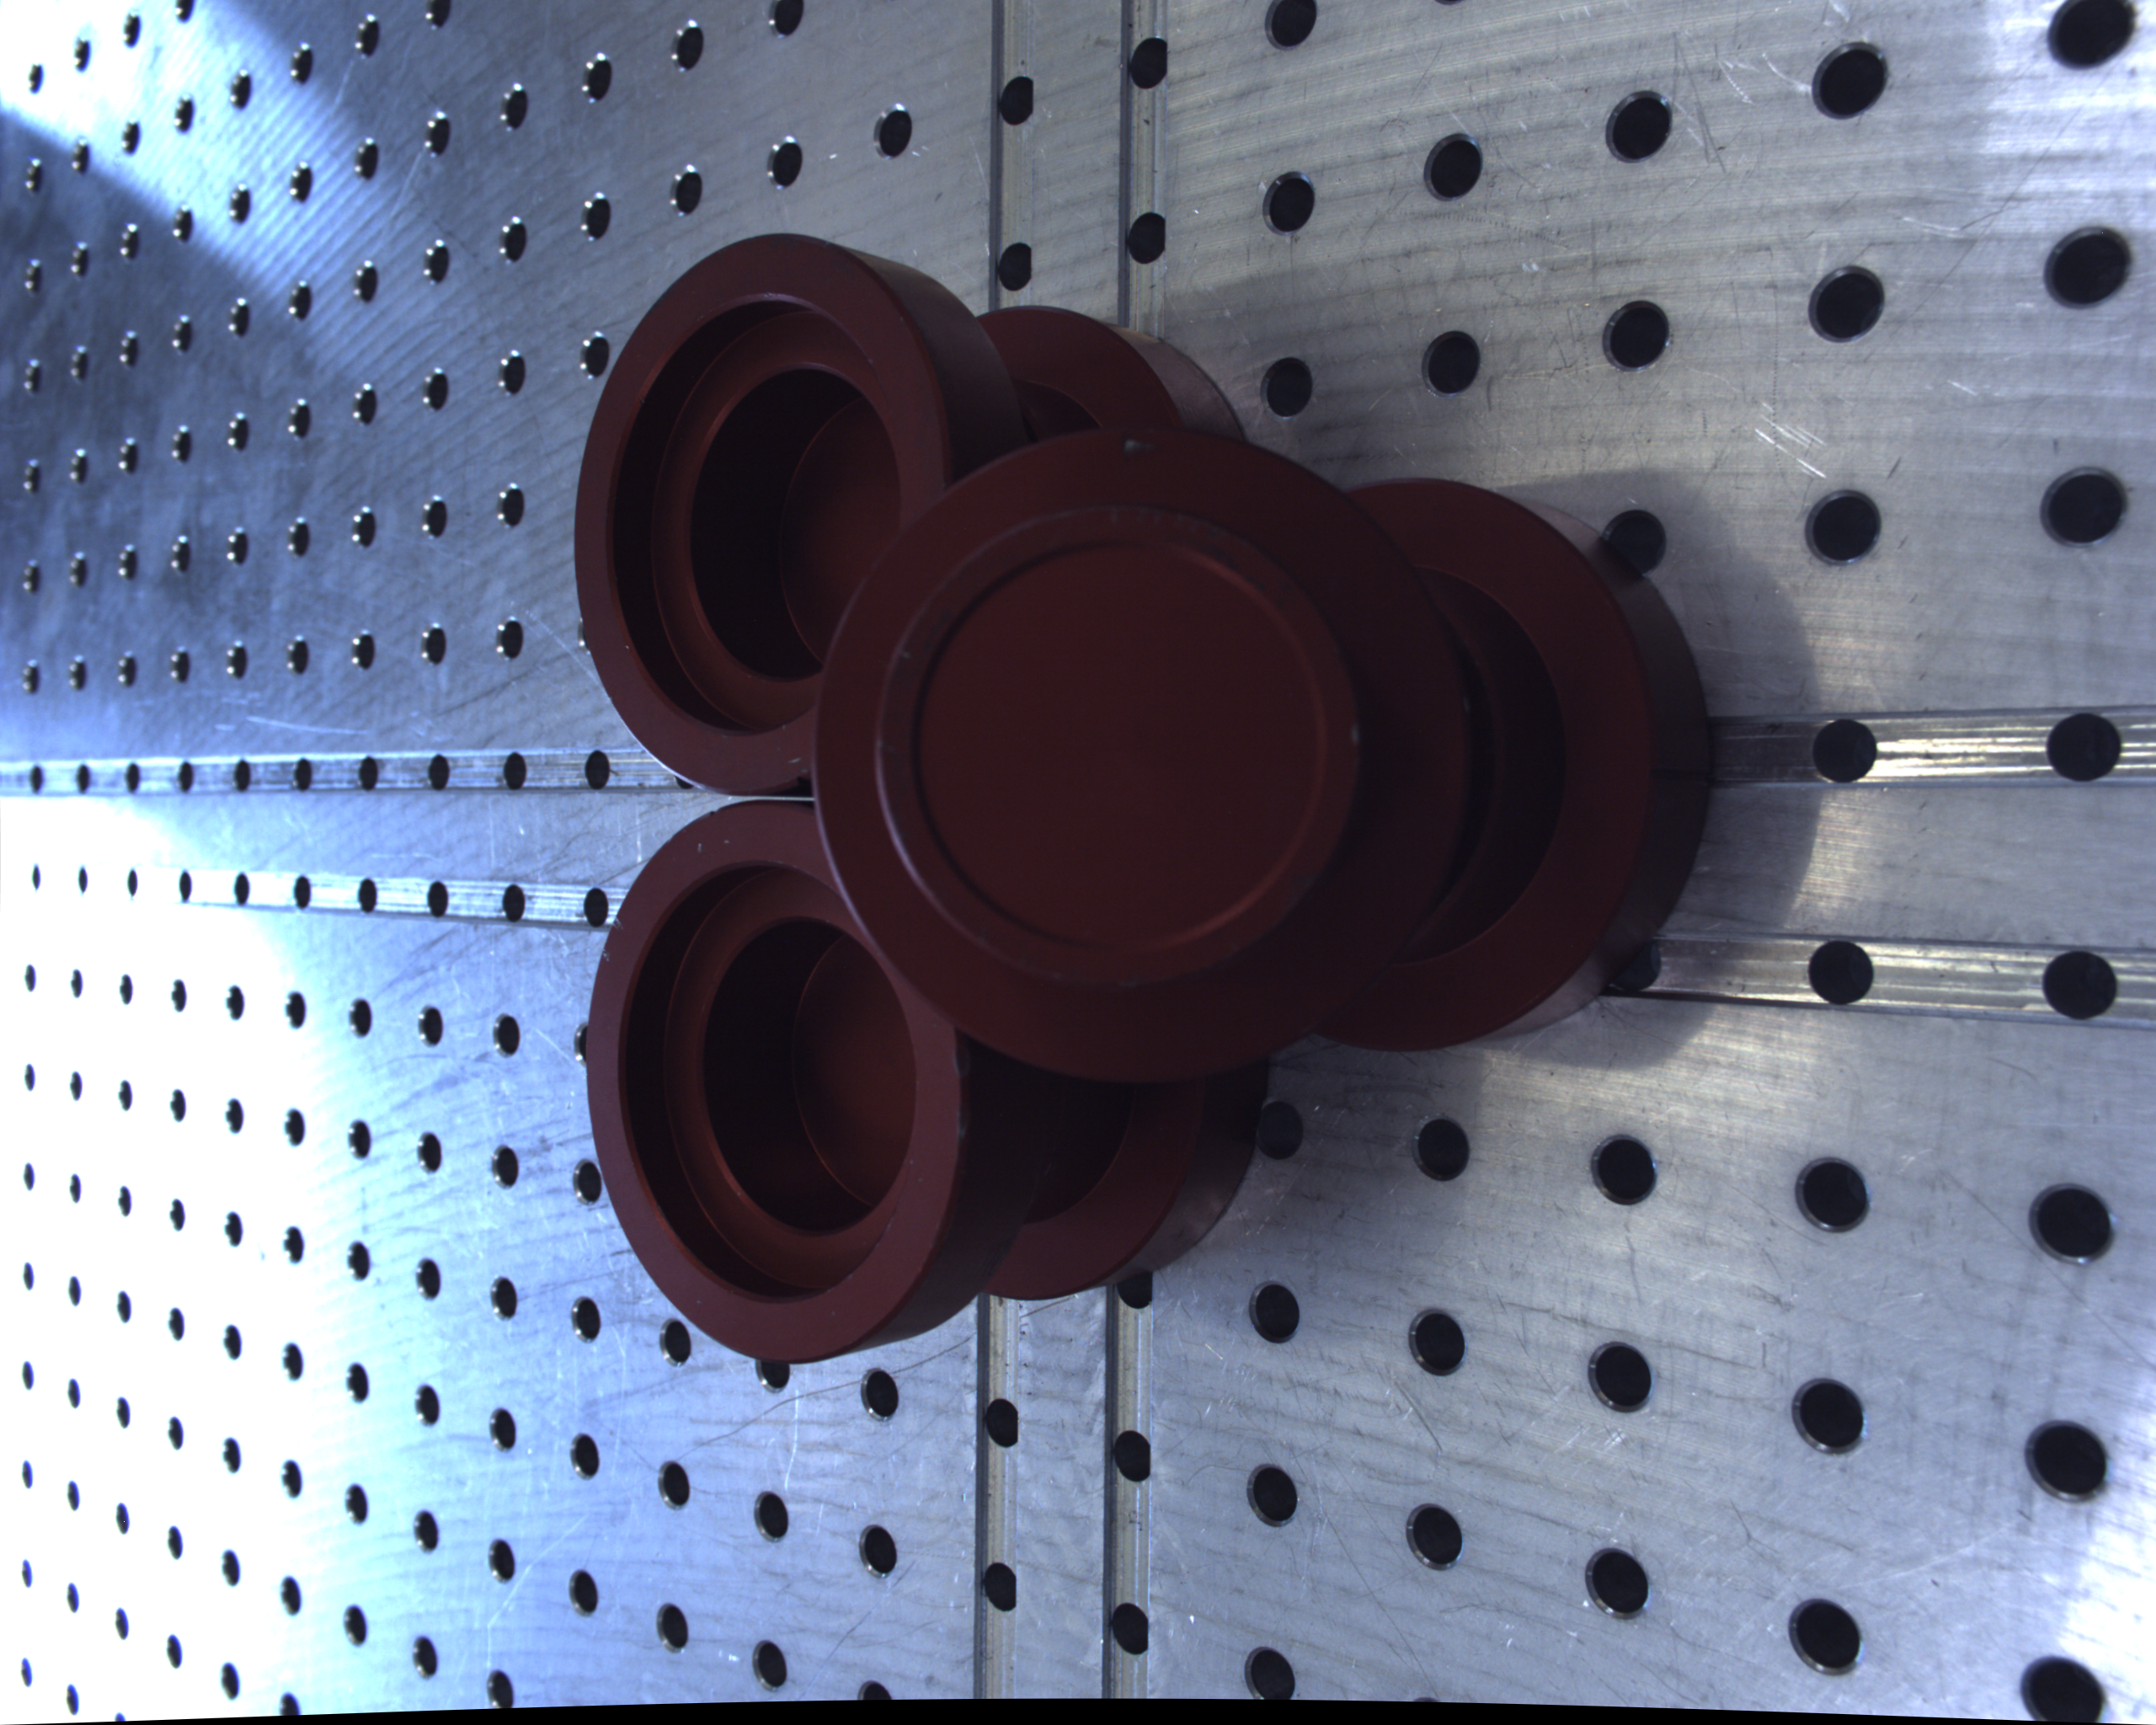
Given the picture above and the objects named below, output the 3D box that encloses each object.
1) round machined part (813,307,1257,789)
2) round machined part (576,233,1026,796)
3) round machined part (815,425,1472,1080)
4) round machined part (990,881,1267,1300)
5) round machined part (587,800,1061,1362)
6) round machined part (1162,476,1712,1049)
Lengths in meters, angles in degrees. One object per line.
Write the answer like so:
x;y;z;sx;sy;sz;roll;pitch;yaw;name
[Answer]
-0.015;-0.061;0.413;0.098;0.042;0.097;0;90;40;round machined part
-0.045;-0.061;0.381;0.098;0.042;0.097;0;90;40;round machined part
0.009;-0.016;0.309;0.098;0.042;0.097;0;90;8;round machined part
-0.015;0.037;0.412;0.098;0.042;0.097;0;90;40;round machined part
-0.042;0.038;0.379;0.098;0.042;0.097;0;90;40;round machined part
0.053;-0.017;0.356;0.098;0.042;0.097;0;90;40;round machined part
